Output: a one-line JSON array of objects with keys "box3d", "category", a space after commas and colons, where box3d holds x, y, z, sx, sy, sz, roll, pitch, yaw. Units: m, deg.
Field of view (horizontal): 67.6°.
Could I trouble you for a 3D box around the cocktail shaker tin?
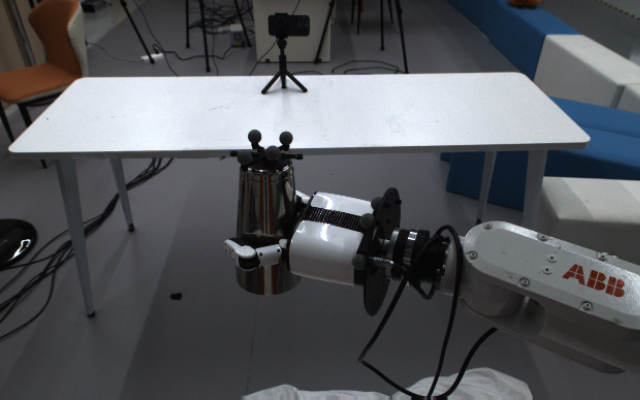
[{"box3d": [-0.066, 0.028, 0.632, 0.093, 0.170, 0.093, 2, 28, -1], "category": "cocktail shaker tin"}]
